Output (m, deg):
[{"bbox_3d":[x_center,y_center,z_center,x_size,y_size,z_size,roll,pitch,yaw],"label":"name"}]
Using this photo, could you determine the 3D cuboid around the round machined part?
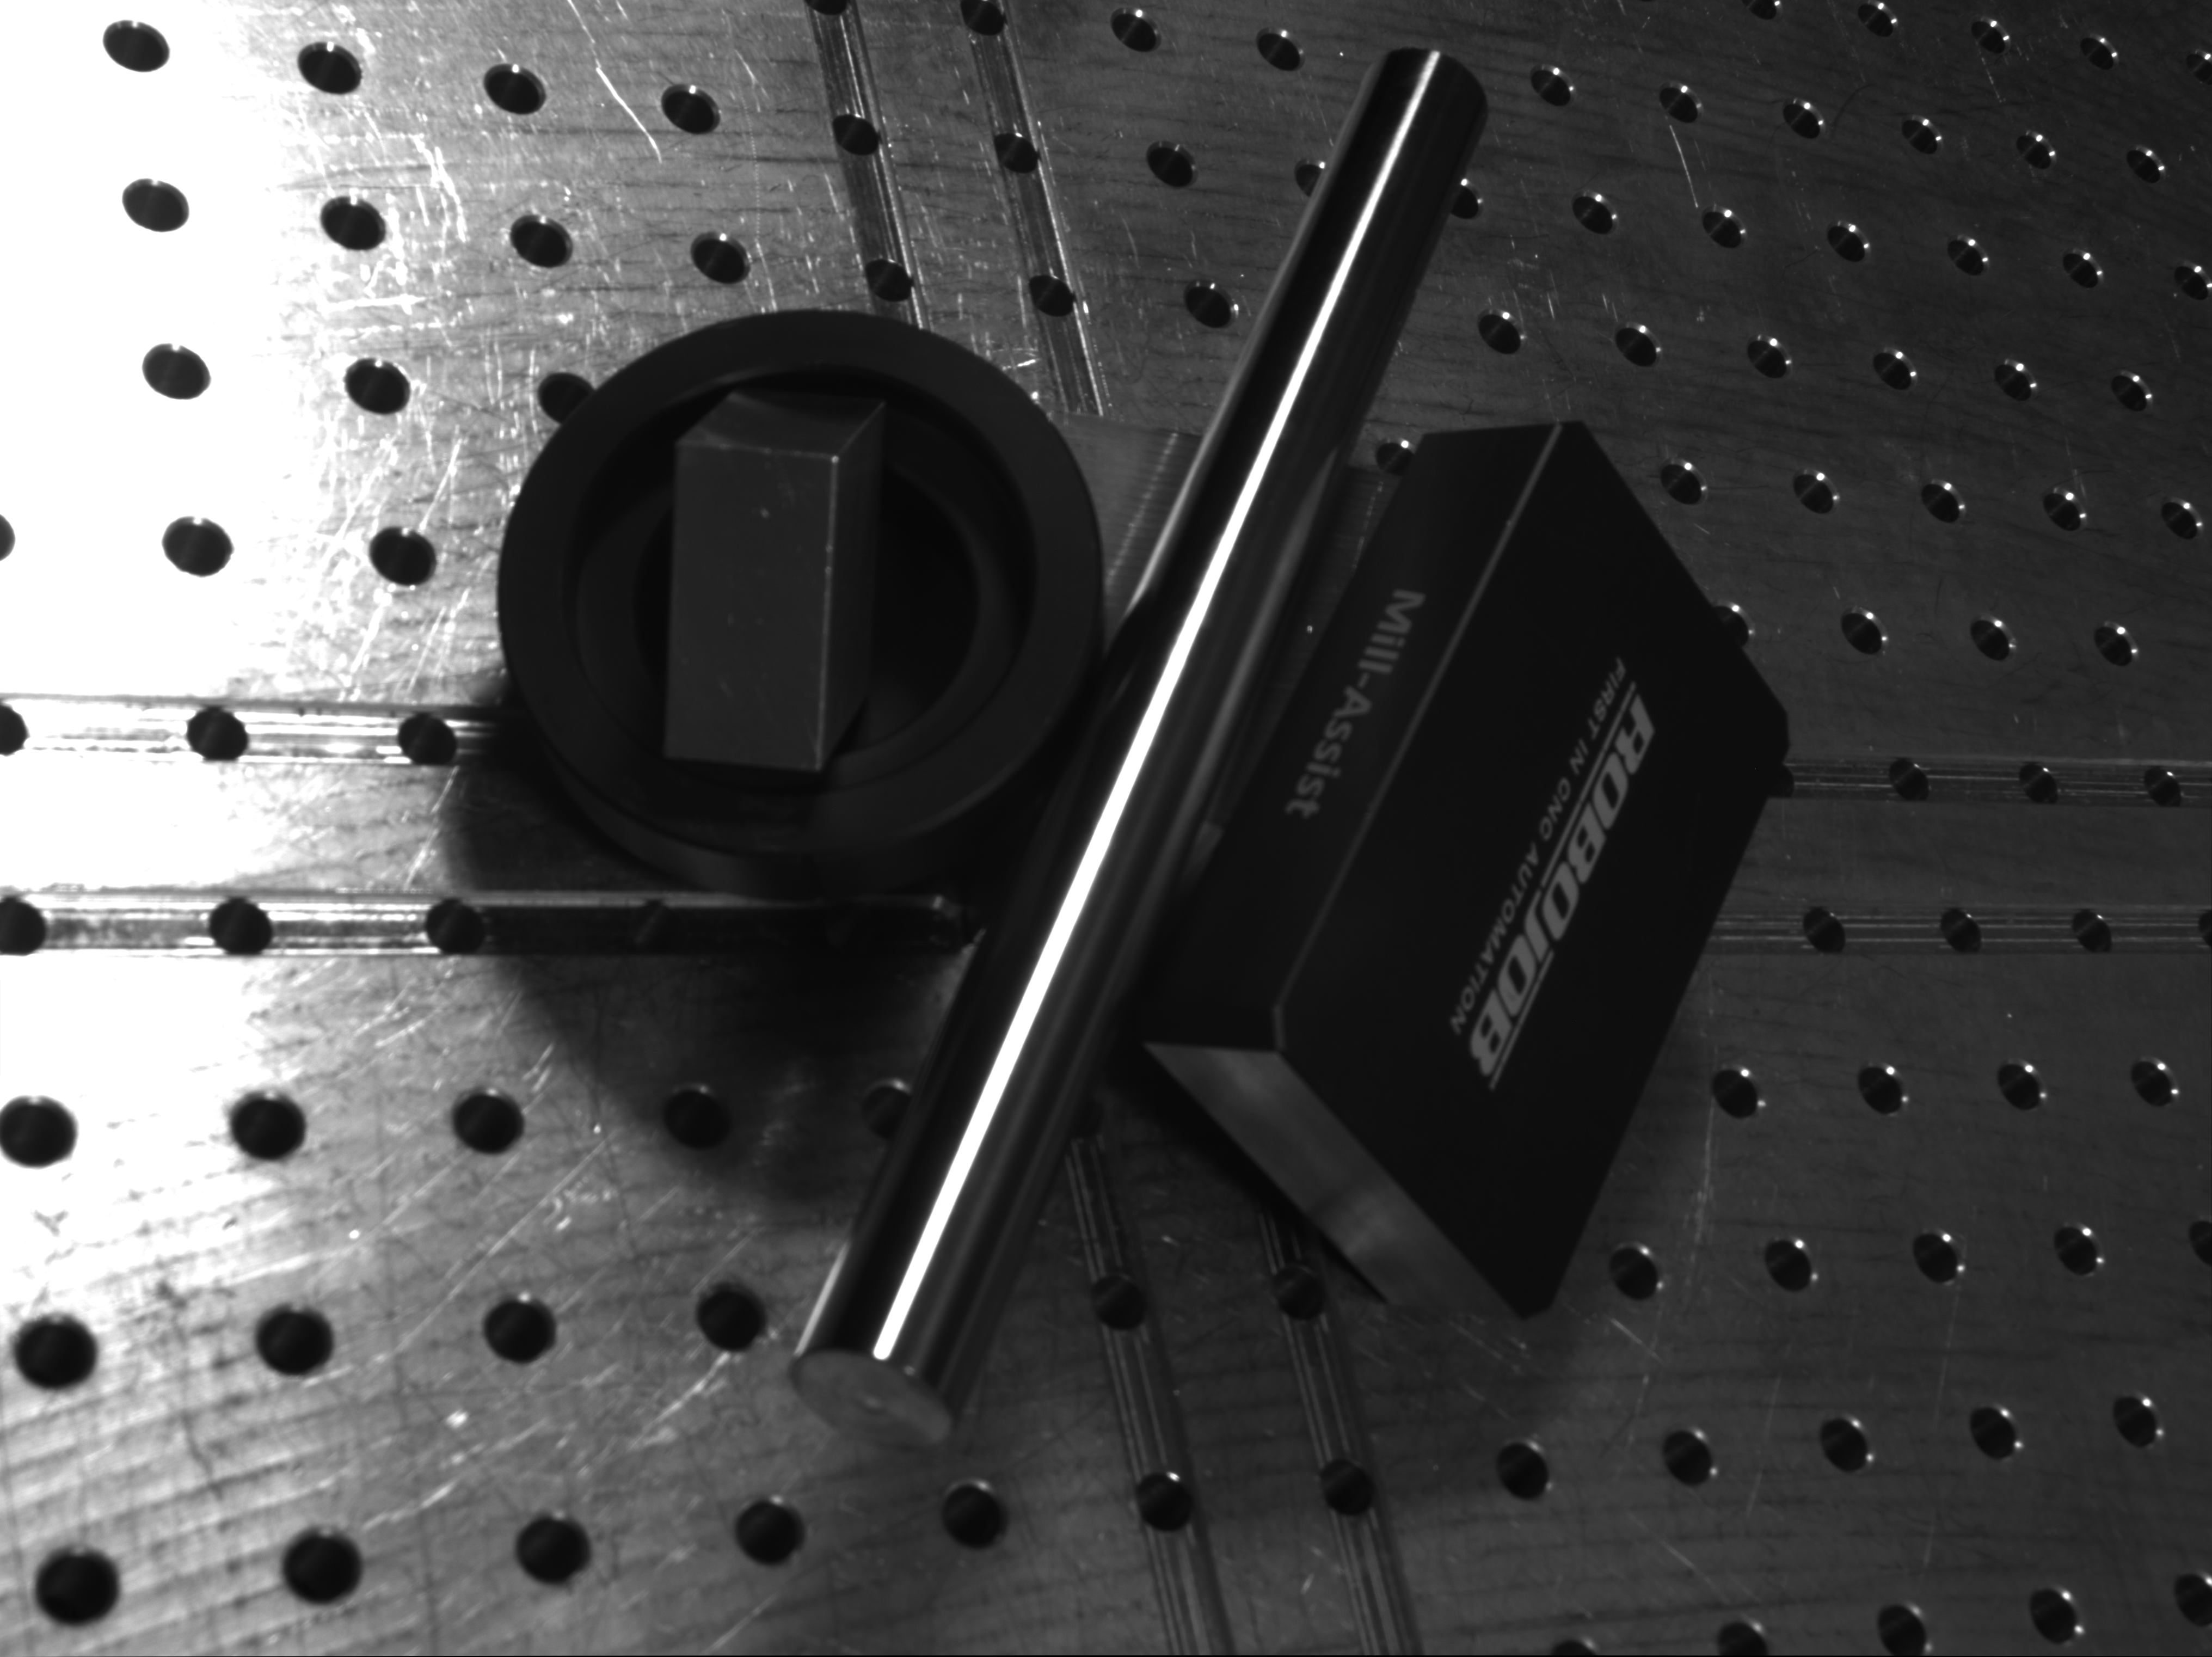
[{"bbox_3d":[-0.048,-0.033,0.610,0.098,0.042,0.098,0,67,0],"label":"round machined part"}]

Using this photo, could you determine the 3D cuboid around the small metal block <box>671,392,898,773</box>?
[{"bbox_3d":[-0.051,-0.041,0.588,0.025,0.050,0.050,6,17,5],"label":"small metal block"}]

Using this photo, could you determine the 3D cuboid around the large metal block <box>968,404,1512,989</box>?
[{"bbox_3d":[0.020,-0.021,0.650,0.080,0.050,0.080,9,58,-24],"label":"large metal block"}]

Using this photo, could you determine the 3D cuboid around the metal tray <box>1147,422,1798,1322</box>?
[{"bbox_3d":[0.067,0.007,0.628,0.090,0.030,0.130,48,58,-36],"label":"metal tray"}]

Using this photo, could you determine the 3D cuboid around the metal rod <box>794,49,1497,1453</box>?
[{"bbox_3d":[0.015,-0.029,0.604,0.025,0.025,0.300,30,52,-9],"label":"metal rod"}]
